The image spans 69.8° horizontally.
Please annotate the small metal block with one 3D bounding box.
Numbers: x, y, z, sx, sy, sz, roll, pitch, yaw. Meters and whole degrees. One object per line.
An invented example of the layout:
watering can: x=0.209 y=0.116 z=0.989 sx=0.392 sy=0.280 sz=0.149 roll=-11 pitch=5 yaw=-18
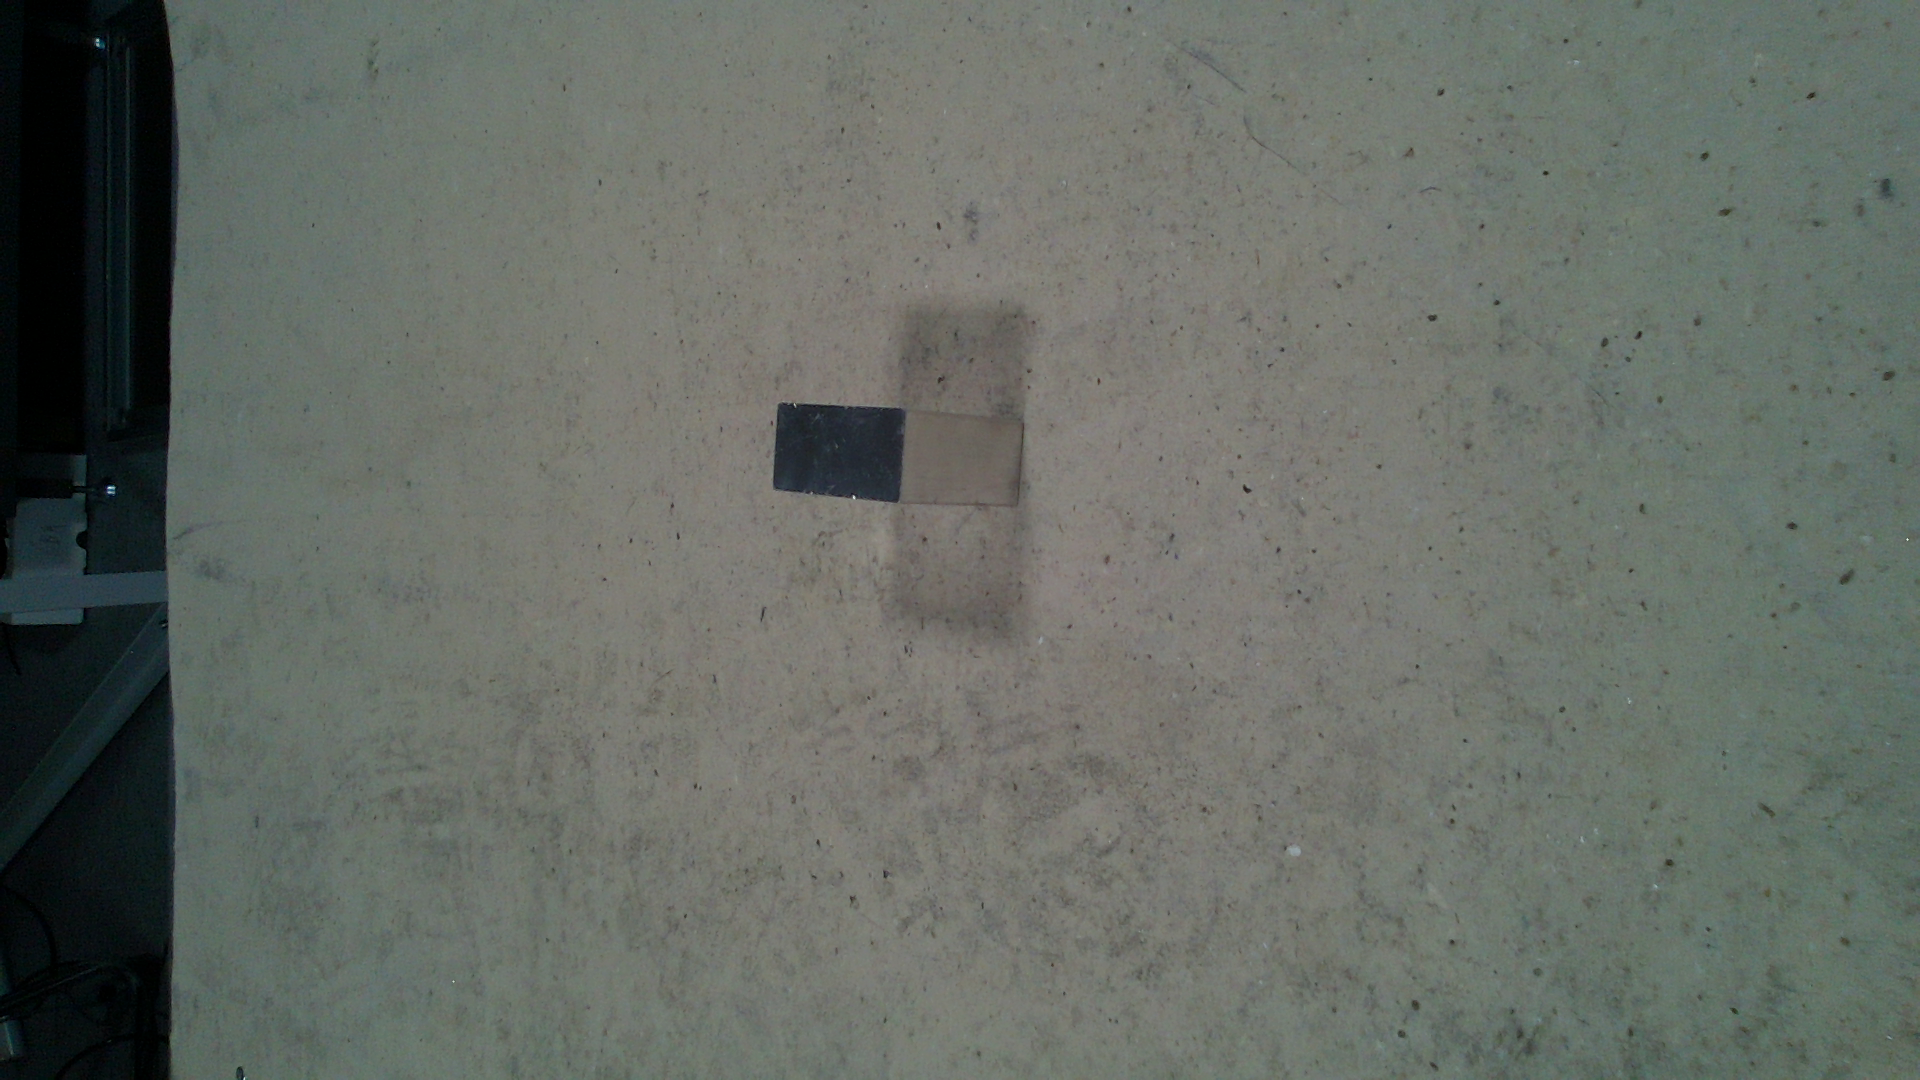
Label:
small metal block: x=-0.018 y=-0.024 z=0.393 sx=0.050 sy=0.050 sz=0.025 roll=7 pitch=95 yaw=40
